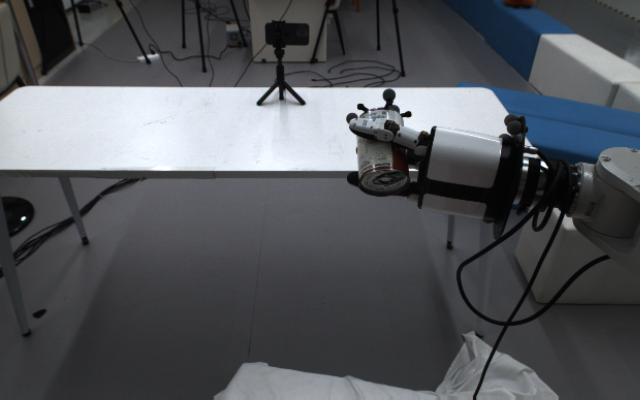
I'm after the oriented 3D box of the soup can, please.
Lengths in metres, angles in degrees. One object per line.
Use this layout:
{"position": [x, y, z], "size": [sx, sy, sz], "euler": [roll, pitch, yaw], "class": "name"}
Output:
{"position": [0.084, -0.065, 0.656], "size": [0.067, 0.067, 0.101], "euler": [1, 62, -2], "class": "soup can"}
